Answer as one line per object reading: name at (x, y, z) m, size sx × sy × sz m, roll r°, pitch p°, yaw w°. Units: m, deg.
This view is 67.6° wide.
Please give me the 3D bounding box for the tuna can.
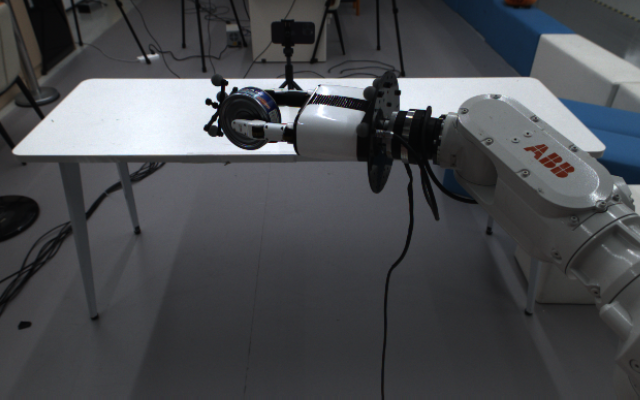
tuna can at (-0.100, -0.118, 0.694) m, size 0.085 × 0.085 × 0.034 m, roll 14°, pitch 31°, yaw 16°
